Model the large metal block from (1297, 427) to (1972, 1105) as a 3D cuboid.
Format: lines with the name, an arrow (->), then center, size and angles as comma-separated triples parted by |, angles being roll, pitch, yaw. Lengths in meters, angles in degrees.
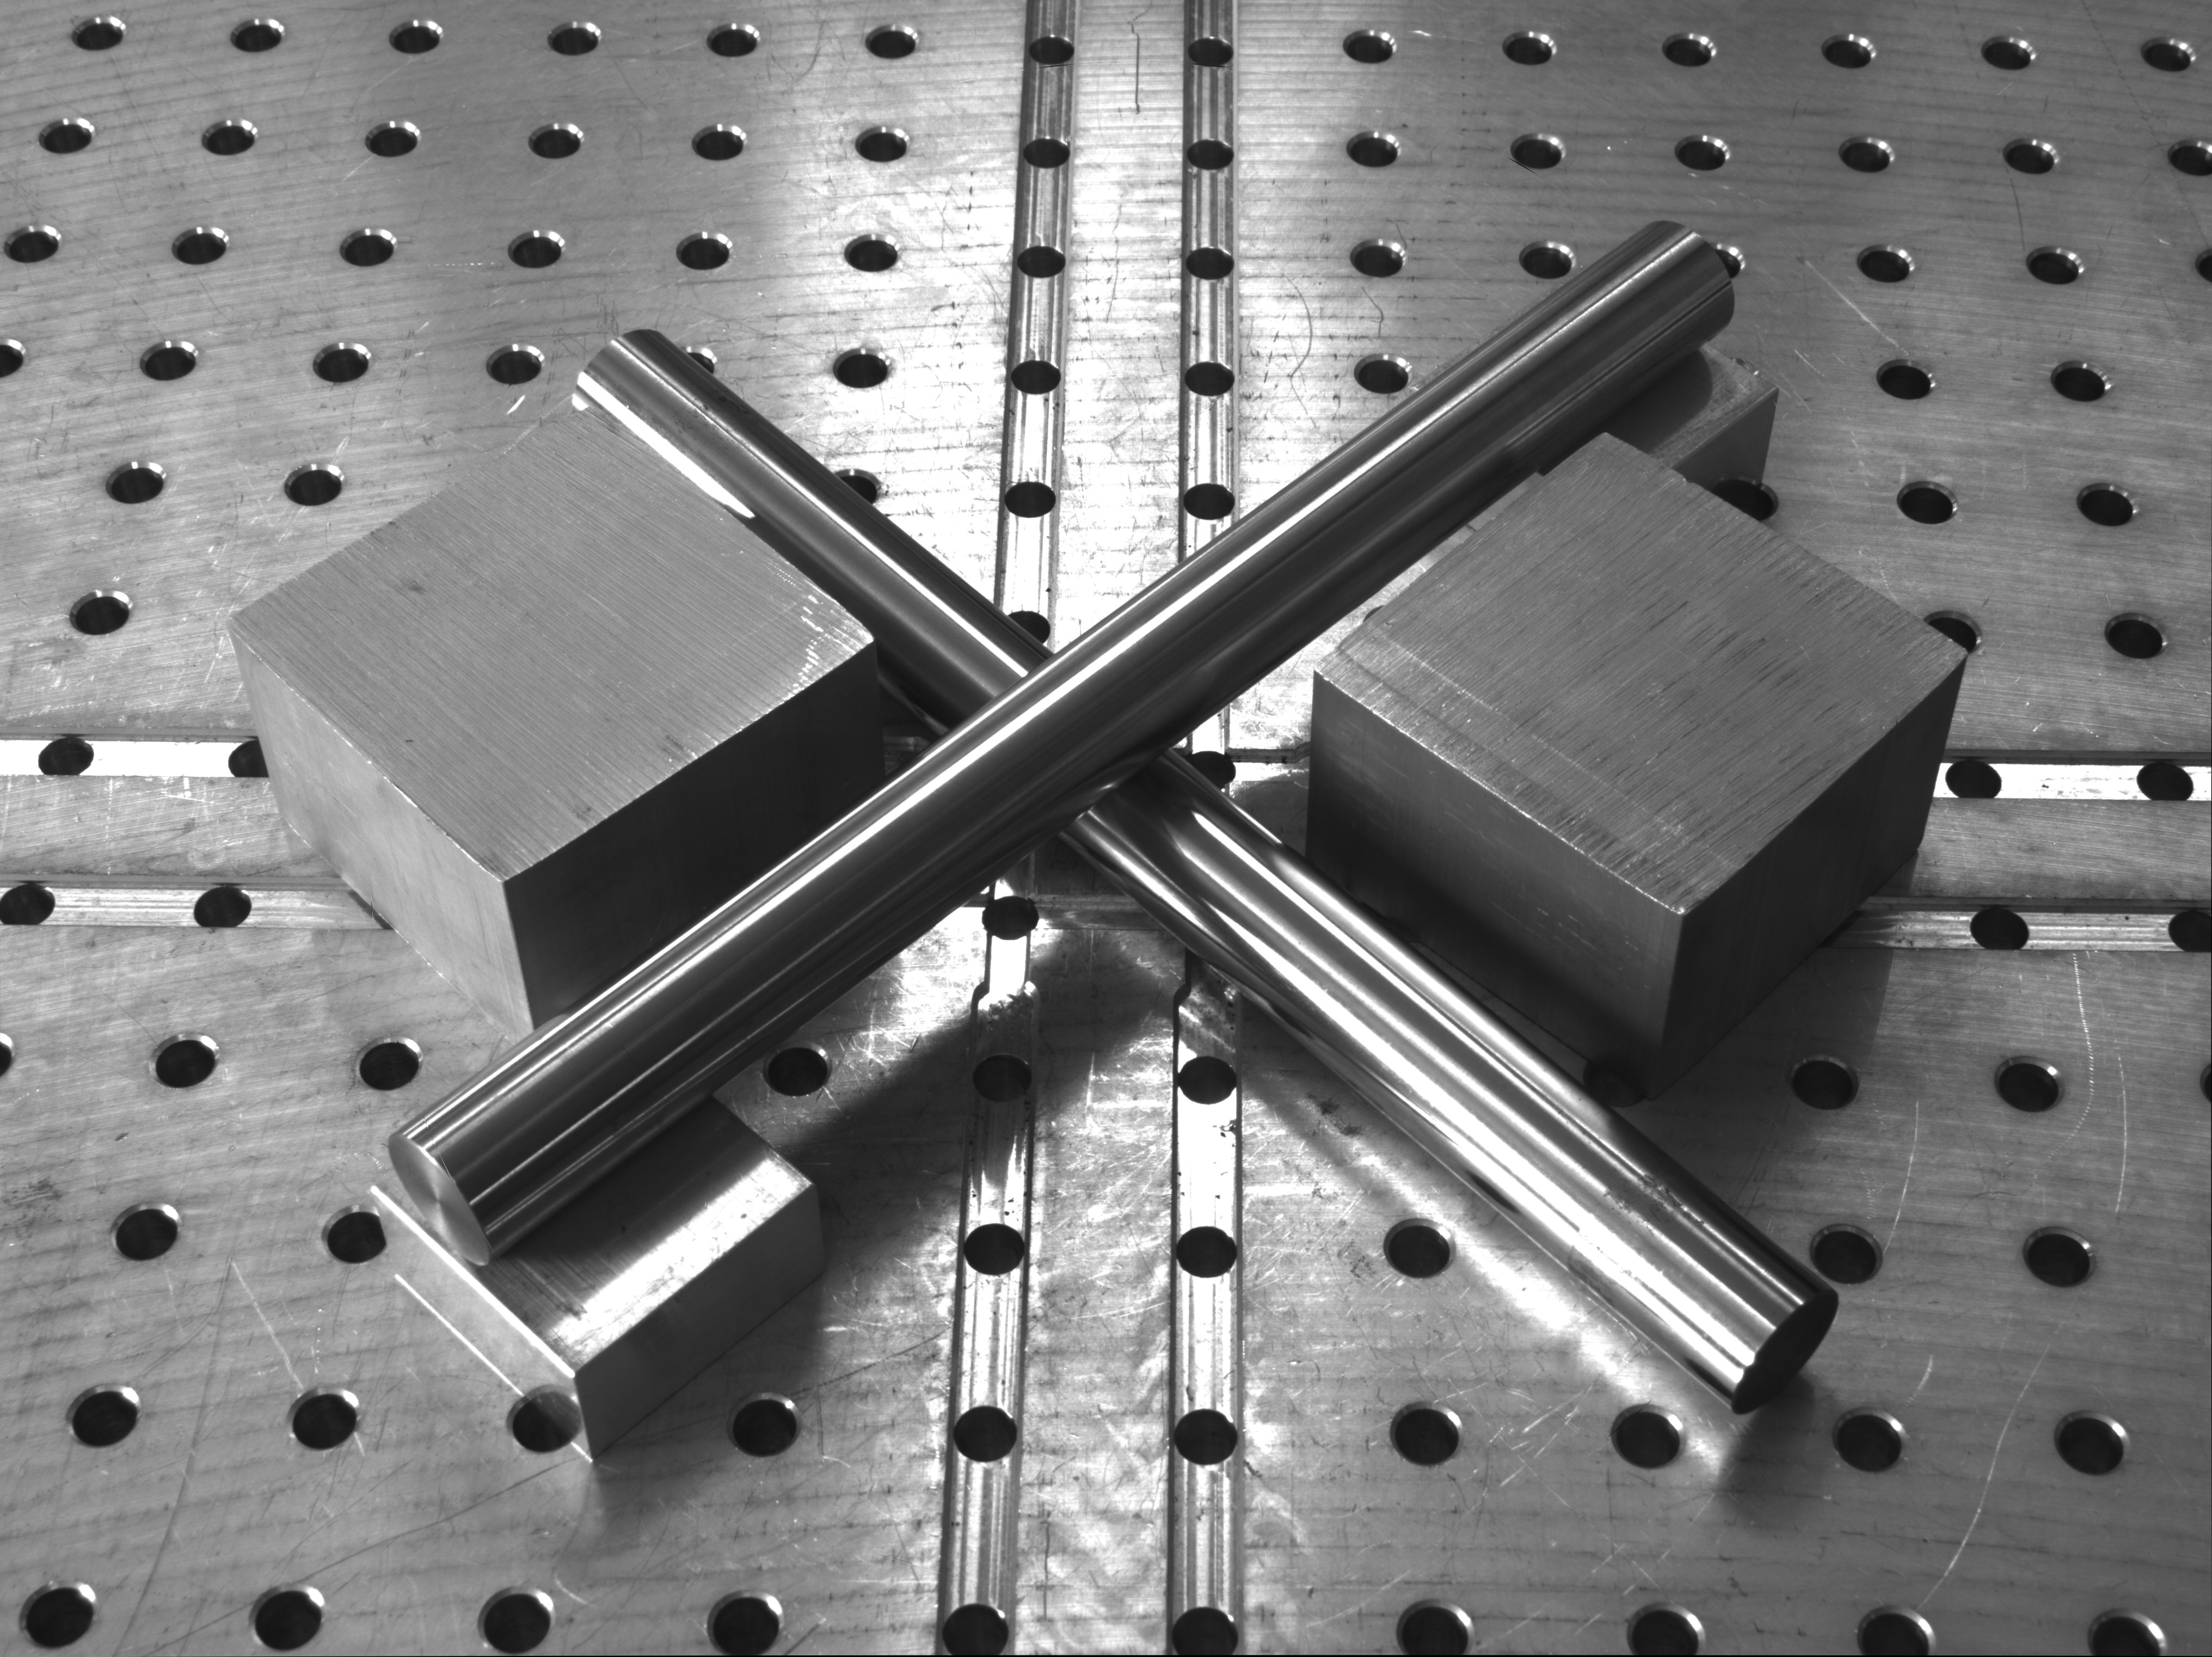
large metal block -> 0.090, -0.013, 0.639 | 0.080, 0.050, 0.080 | 36, 58, 26

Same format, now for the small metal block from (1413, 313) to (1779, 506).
small metal block -> 0.093, -0.076, 0.709 | 0.050, 0.025, 0.050 | -37, 59, -27

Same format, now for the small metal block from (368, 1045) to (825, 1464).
small metal block -> -0.081, 0.065, 0.590 | 0.050, 0.025, 0.050 | 37, 59, 27

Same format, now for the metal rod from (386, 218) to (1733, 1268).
metal rod -> 0.004, -0.024, 0.632 | 0.025, 0.025, 0.301 | 37, 59, 27

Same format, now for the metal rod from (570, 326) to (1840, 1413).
metal rod -> 0.006, -0.003, 0.646 | 0.025, 0.025, 0.299 | -35, 58, -26

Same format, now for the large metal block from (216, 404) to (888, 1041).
large metal block -> -0.095, -0.017, 0.643 | 0.080, 0.050, 0.080 | -35, 58, -26
